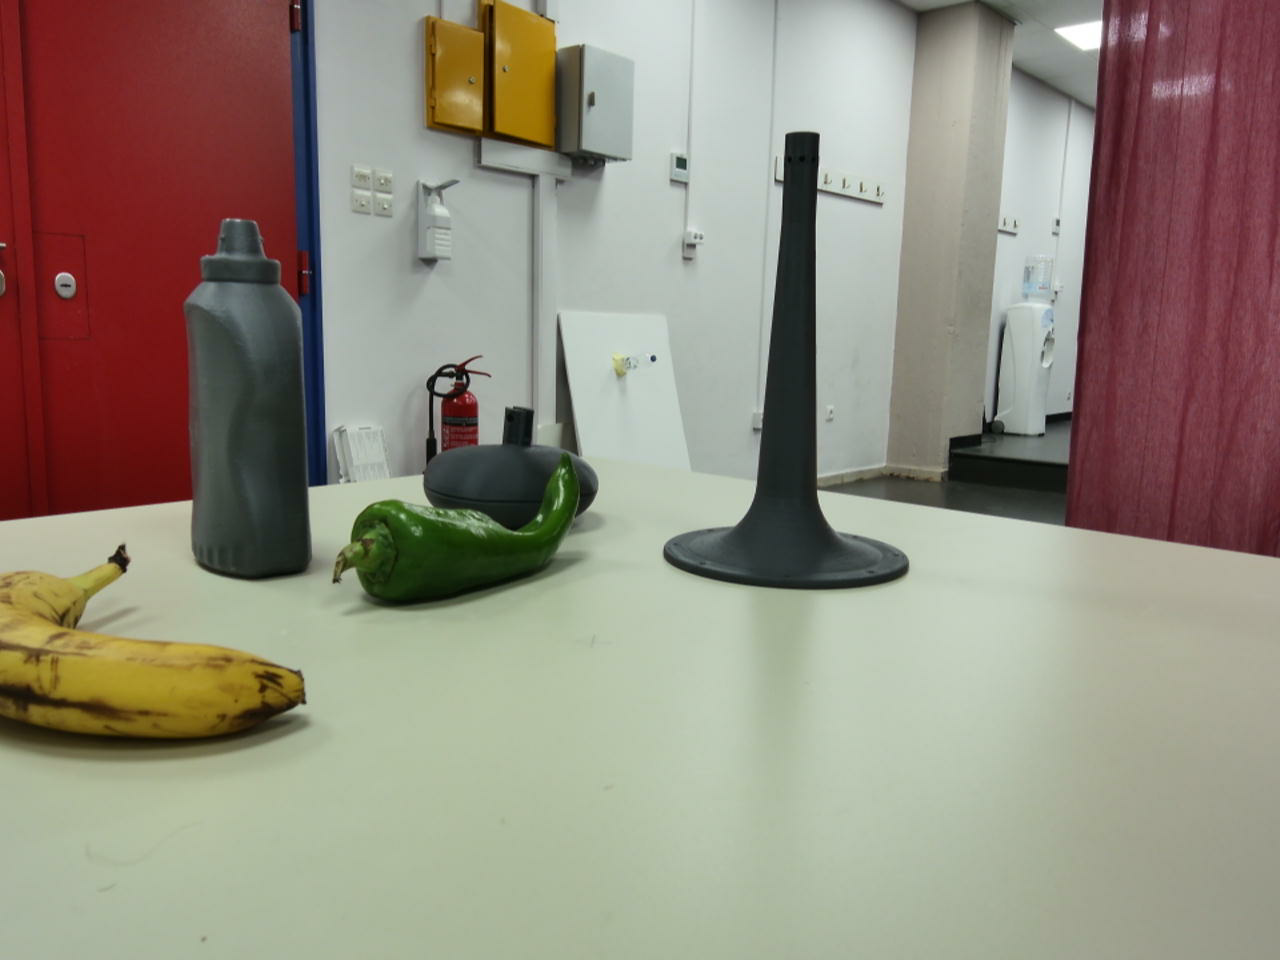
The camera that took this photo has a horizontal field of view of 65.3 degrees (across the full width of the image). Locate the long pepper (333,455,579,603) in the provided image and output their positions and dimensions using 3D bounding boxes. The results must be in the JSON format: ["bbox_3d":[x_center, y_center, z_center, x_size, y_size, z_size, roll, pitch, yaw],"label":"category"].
[{"bbox_3d":[-0.089,0.025,0.539,0.058,0.065,0.175,6,9,39],"label":"long pepper"}]
